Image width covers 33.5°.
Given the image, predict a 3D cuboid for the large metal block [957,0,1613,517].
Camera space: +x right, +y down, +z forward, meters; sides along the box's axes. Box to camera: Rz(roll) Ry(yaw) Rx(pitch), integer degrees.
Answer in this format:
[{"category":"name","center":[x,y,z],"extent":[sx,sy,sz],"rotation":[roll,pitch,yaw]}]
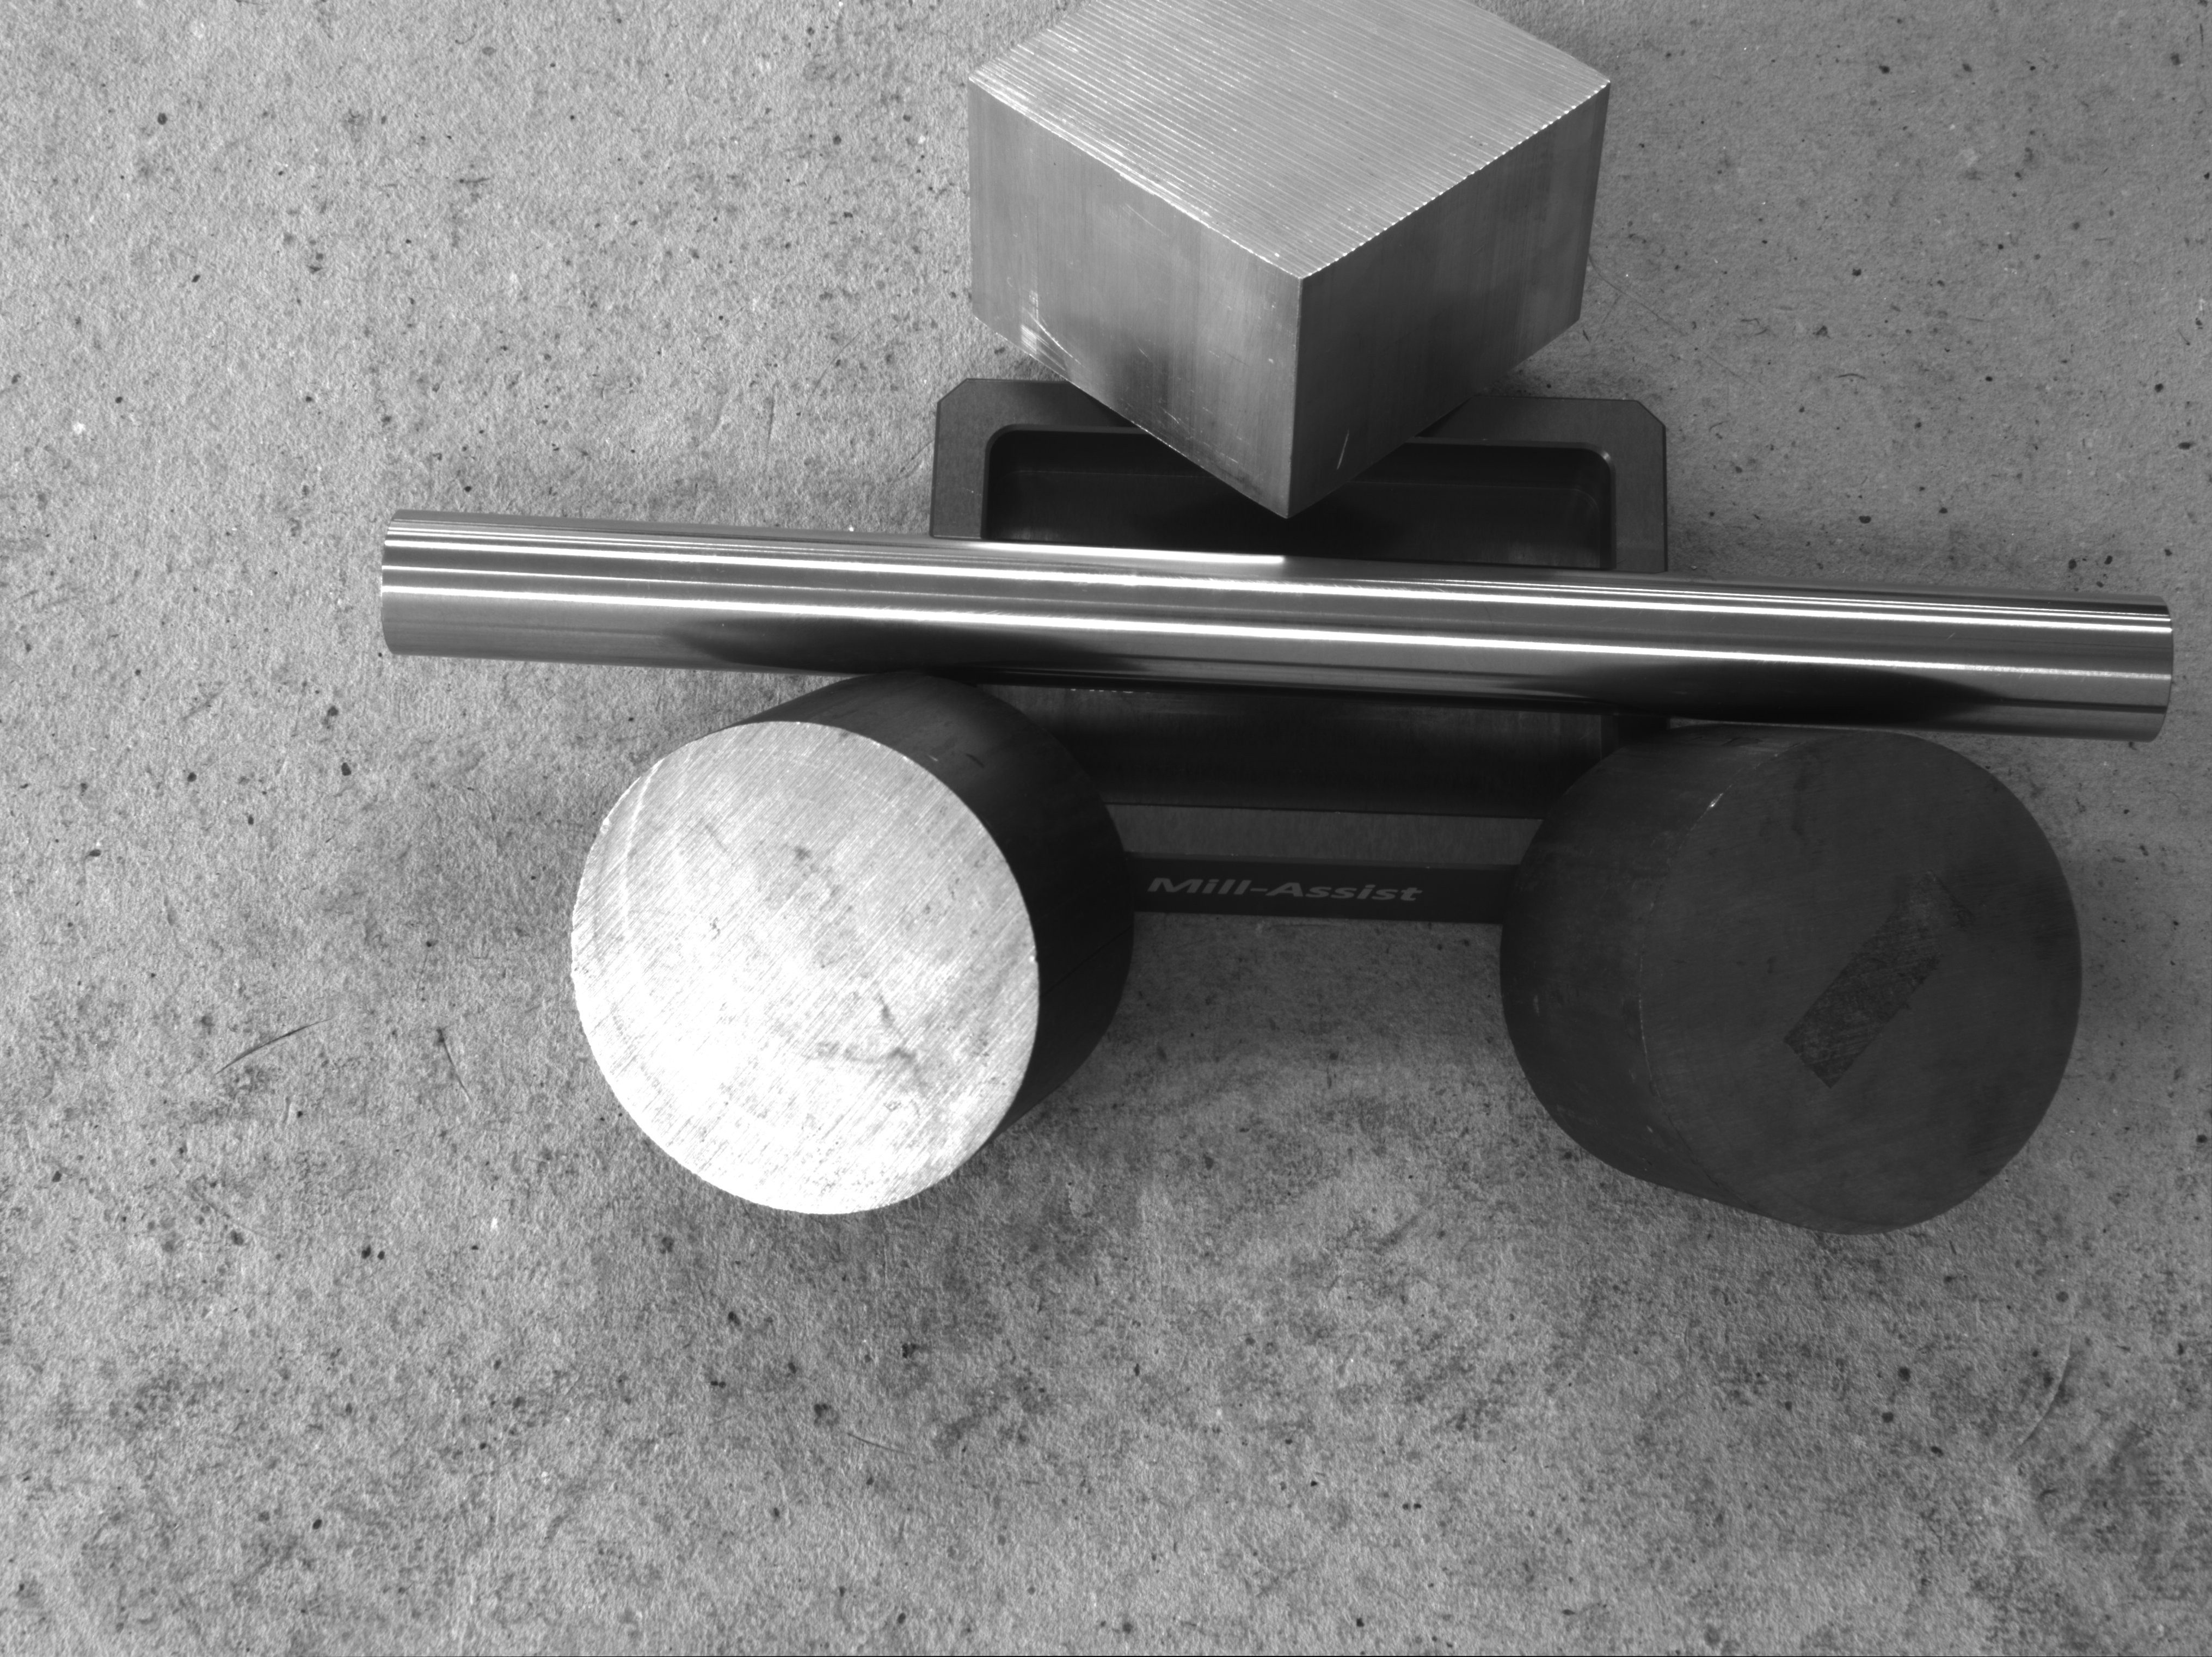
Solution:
[{"category":"large metal block","center":[0.031,-0.112,0.650],"extent":[0.080,0.050,0.080],"rotation":[36,56,29]}]

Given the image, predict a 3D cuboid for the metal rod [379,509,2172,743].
[{"category":"metal rod","center":[0.028,-0.035,0.626],"extent":[0.300,0.025,0.025],"rotation":[3,70,1]}]

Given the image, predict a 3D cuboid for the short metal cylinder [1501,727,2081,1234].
[{"category":"short metal cylinder","center":[0.112,0.024,0.606],"extent":[0.080,0.050,0.080],"rotation":[-1,92,-19]}]

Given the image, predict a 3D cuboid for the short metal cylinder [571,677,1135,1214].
[{"category":"short metal cylinder","center":[-0.041,0.018,0.606],"extent":[0.080,0.050,0.080],"rotation":[3,102,17]}]

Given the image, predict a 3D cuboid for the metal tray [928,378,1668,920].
[{"category":"metal tray","center":[0.033,-0.032,0.655],"extent":[0.130,0.030,0.090],"rotation":[2,70,1]}]
